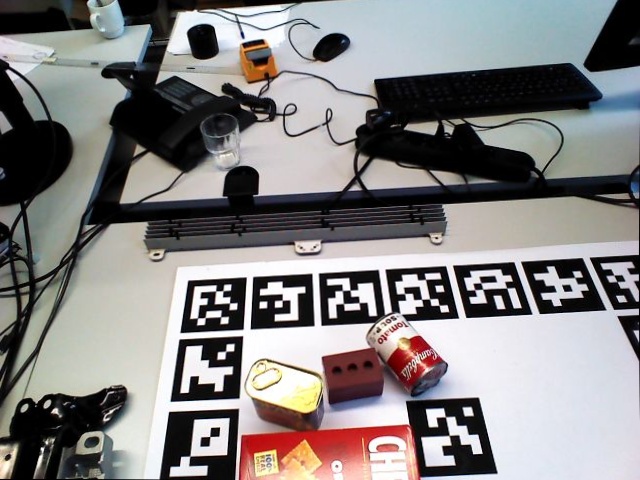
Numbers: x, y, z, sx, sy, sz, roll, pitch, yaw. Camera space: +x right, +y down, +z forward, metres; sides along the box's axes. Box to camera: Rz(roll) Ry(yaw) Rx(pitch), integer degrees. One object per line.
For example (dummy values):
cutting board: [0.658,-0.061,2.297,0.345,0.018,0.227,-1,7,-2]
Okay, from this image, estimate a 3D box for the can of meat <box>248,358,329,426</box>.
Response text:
can of meat: [-0.038,0.206,0.691,0.102,0.084,0.057,8,54,10]

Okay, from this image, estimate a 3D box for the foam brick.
foam brick: [0.058,0.186,0.721,0.078,0.051,0.052,-12,53,-4]

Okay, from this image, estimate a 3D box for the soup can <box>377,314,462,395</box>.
soup can: [0.139,0.159,0.733,0.067,0.068,0.102,-35,52,-20]

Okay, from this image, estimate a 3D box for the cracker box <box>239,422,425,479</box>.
cracker box: [0.018,0.309,0.598,0.214,0.072,0.163,-10,51,2]
